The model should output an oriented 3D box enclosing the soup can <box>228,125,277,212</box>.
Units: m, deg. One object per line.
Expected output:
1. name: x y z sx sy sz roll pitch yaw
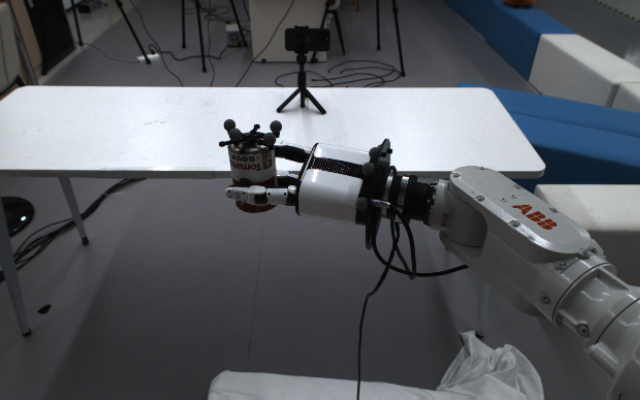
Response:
1. soup can: -0.097 -0.041 0.718 0.067 0.101 0.067 -2 33 1
